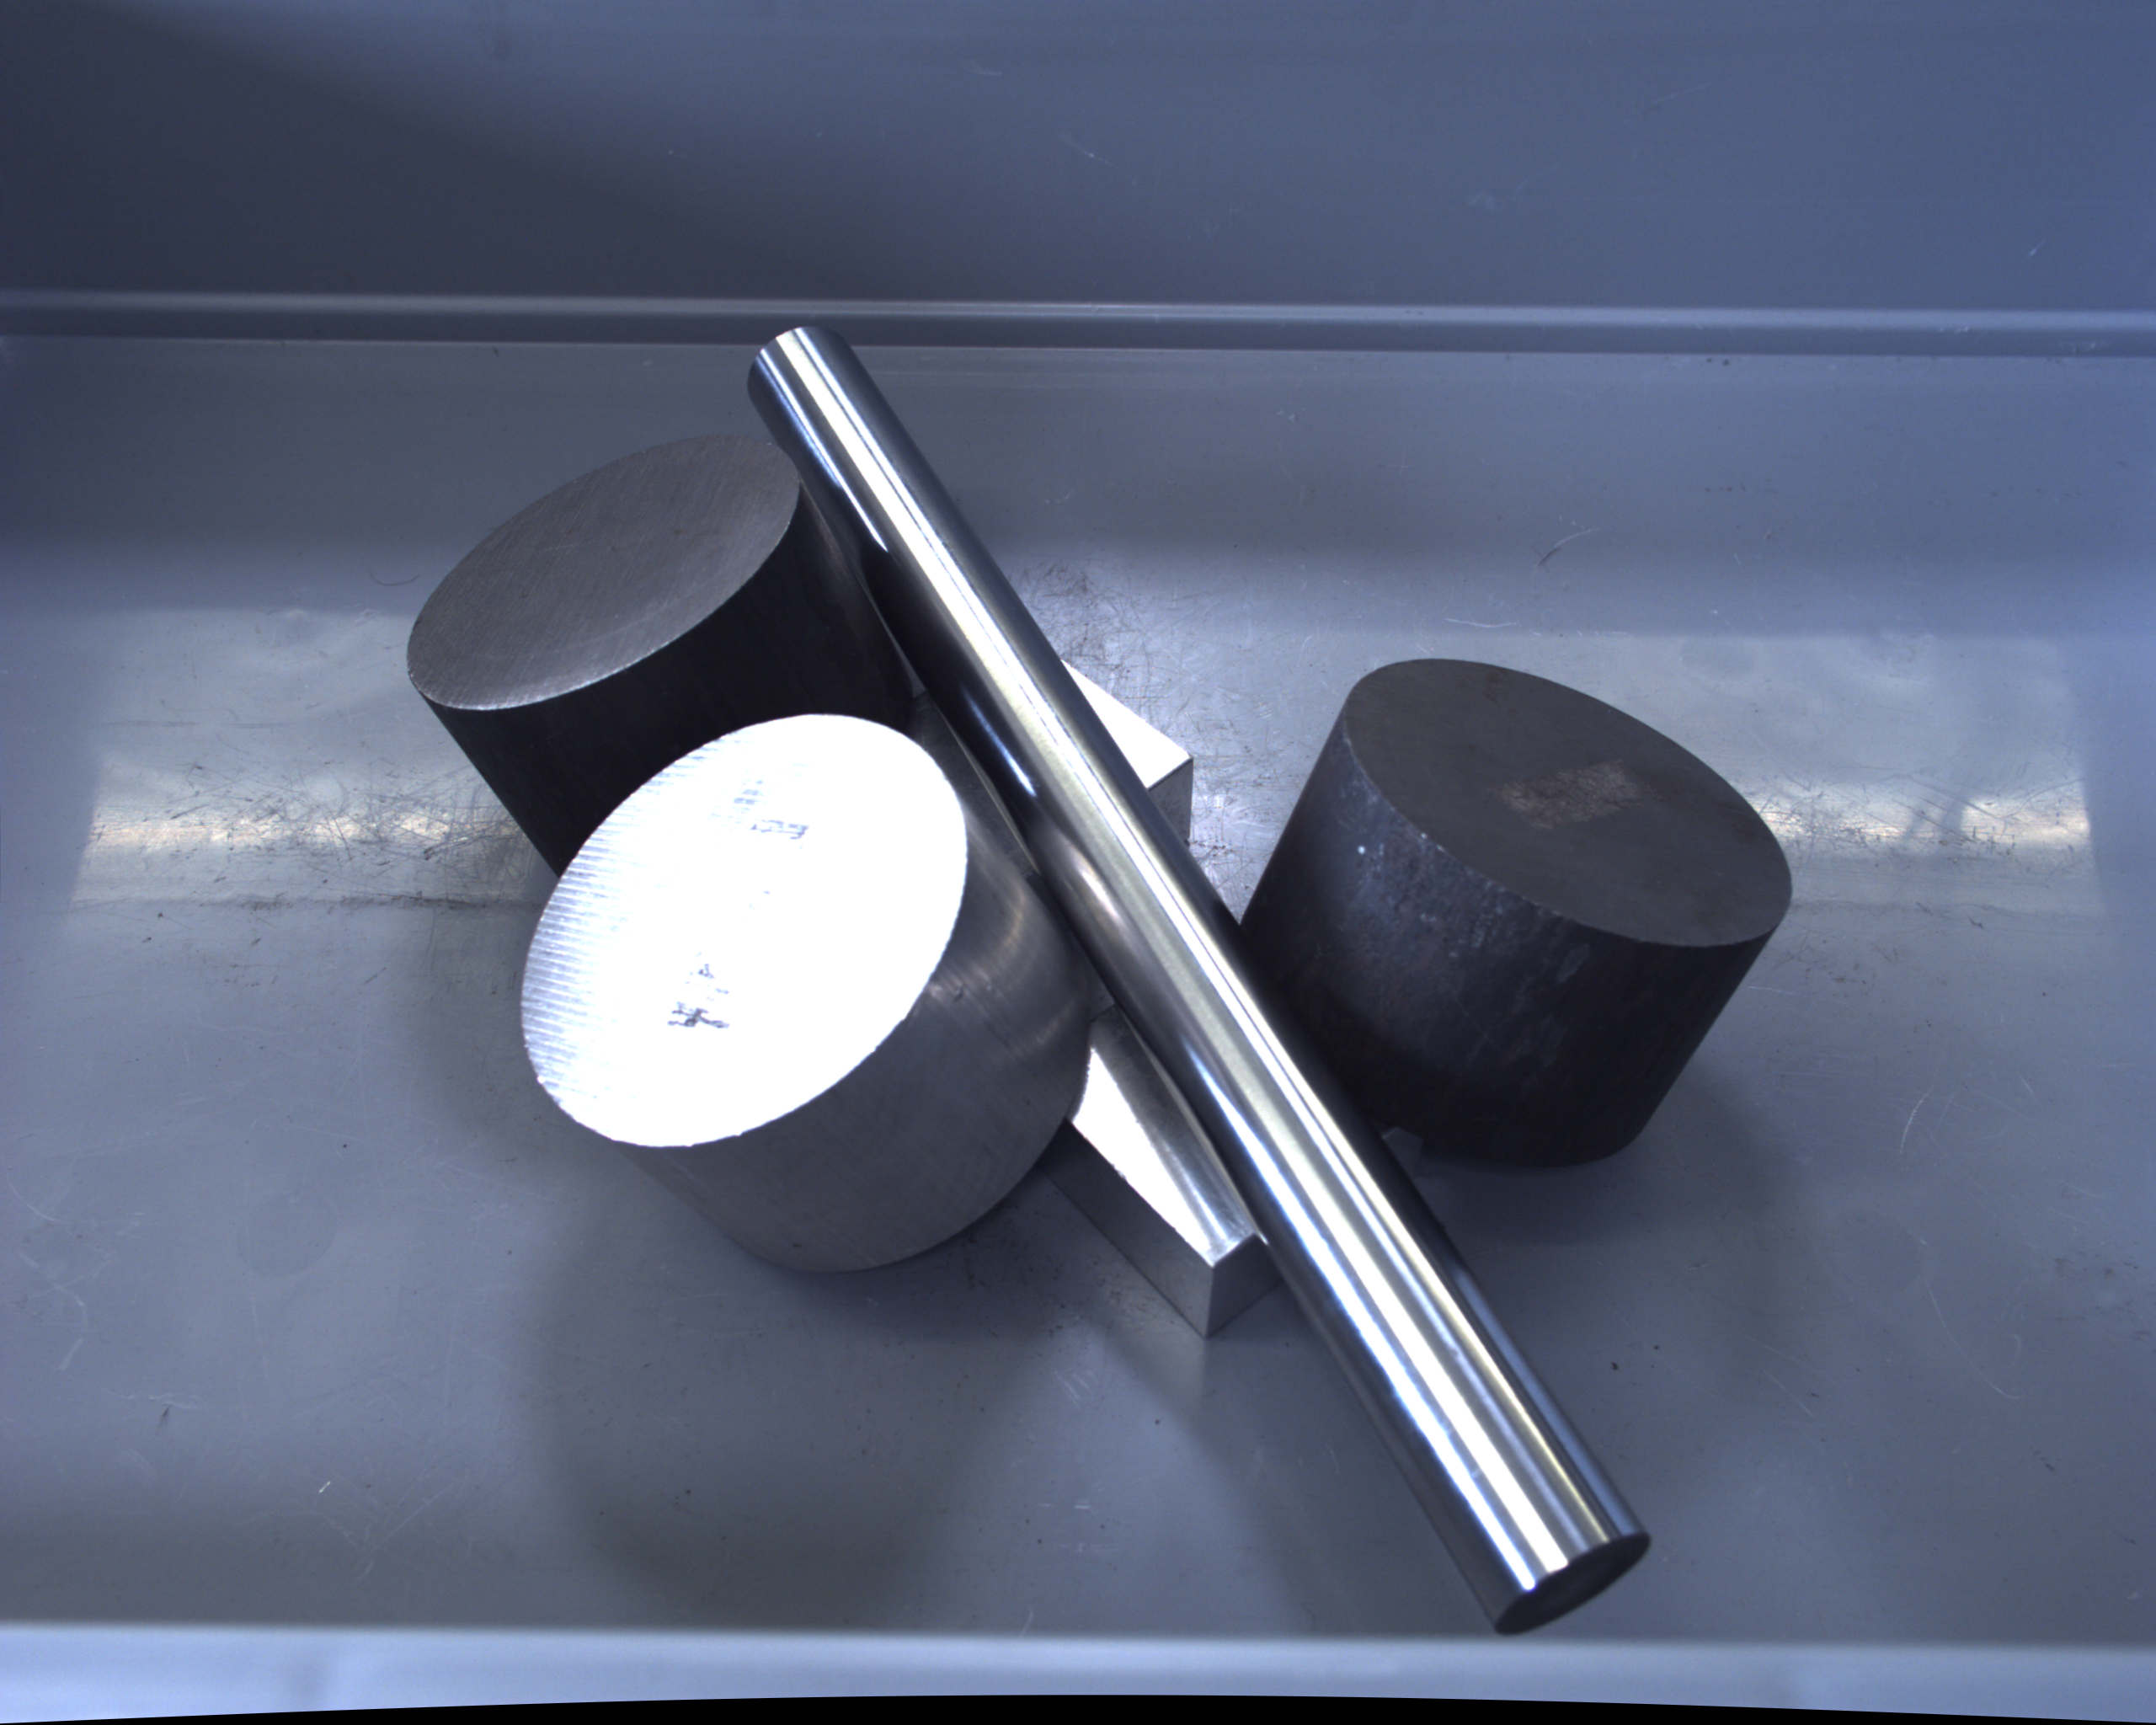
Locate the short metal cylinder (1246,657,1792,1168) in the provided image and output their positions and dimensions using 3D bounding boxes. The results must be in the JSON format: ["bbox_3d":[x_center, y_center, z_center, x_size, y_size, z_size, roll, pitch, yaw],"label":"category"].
[{"bbox_3d":[0.075,0.007,0.364,0.081,0.050,0.080,15,33,-10],"label":"short metal cylinder"}]

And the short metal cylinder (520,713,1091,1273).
[{"bbox_3d":[-0.045,0.022,0.350,0.080,0.050,0.080,-13,52,18],"label":"short metal cylinder"}]

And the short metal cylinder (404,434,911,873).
[{"bbox_3d":[-0.079,-0.038,0.400,0.080,0.050,0.080,-16,40,14],"label":"short metal cylinder"}]

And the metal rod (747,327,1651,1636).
[{"bbox_3d":[0.003,-0.004,0.373,0.025,0.025,0.300,-20,53,-16],"label":"metal rod"}]

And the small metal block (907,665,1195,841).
[{"bbox_3d":[-0.013,-0.013,0.414,0.050,0.025,0.050,-36,59,-26],"label":"small metal block"}]

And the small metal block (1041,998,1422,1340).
[{"bbox_3d":[0.025,0.046,0.365,0.050,0.025,0.050,-33,58,-25],"label":"small metal block"}]
